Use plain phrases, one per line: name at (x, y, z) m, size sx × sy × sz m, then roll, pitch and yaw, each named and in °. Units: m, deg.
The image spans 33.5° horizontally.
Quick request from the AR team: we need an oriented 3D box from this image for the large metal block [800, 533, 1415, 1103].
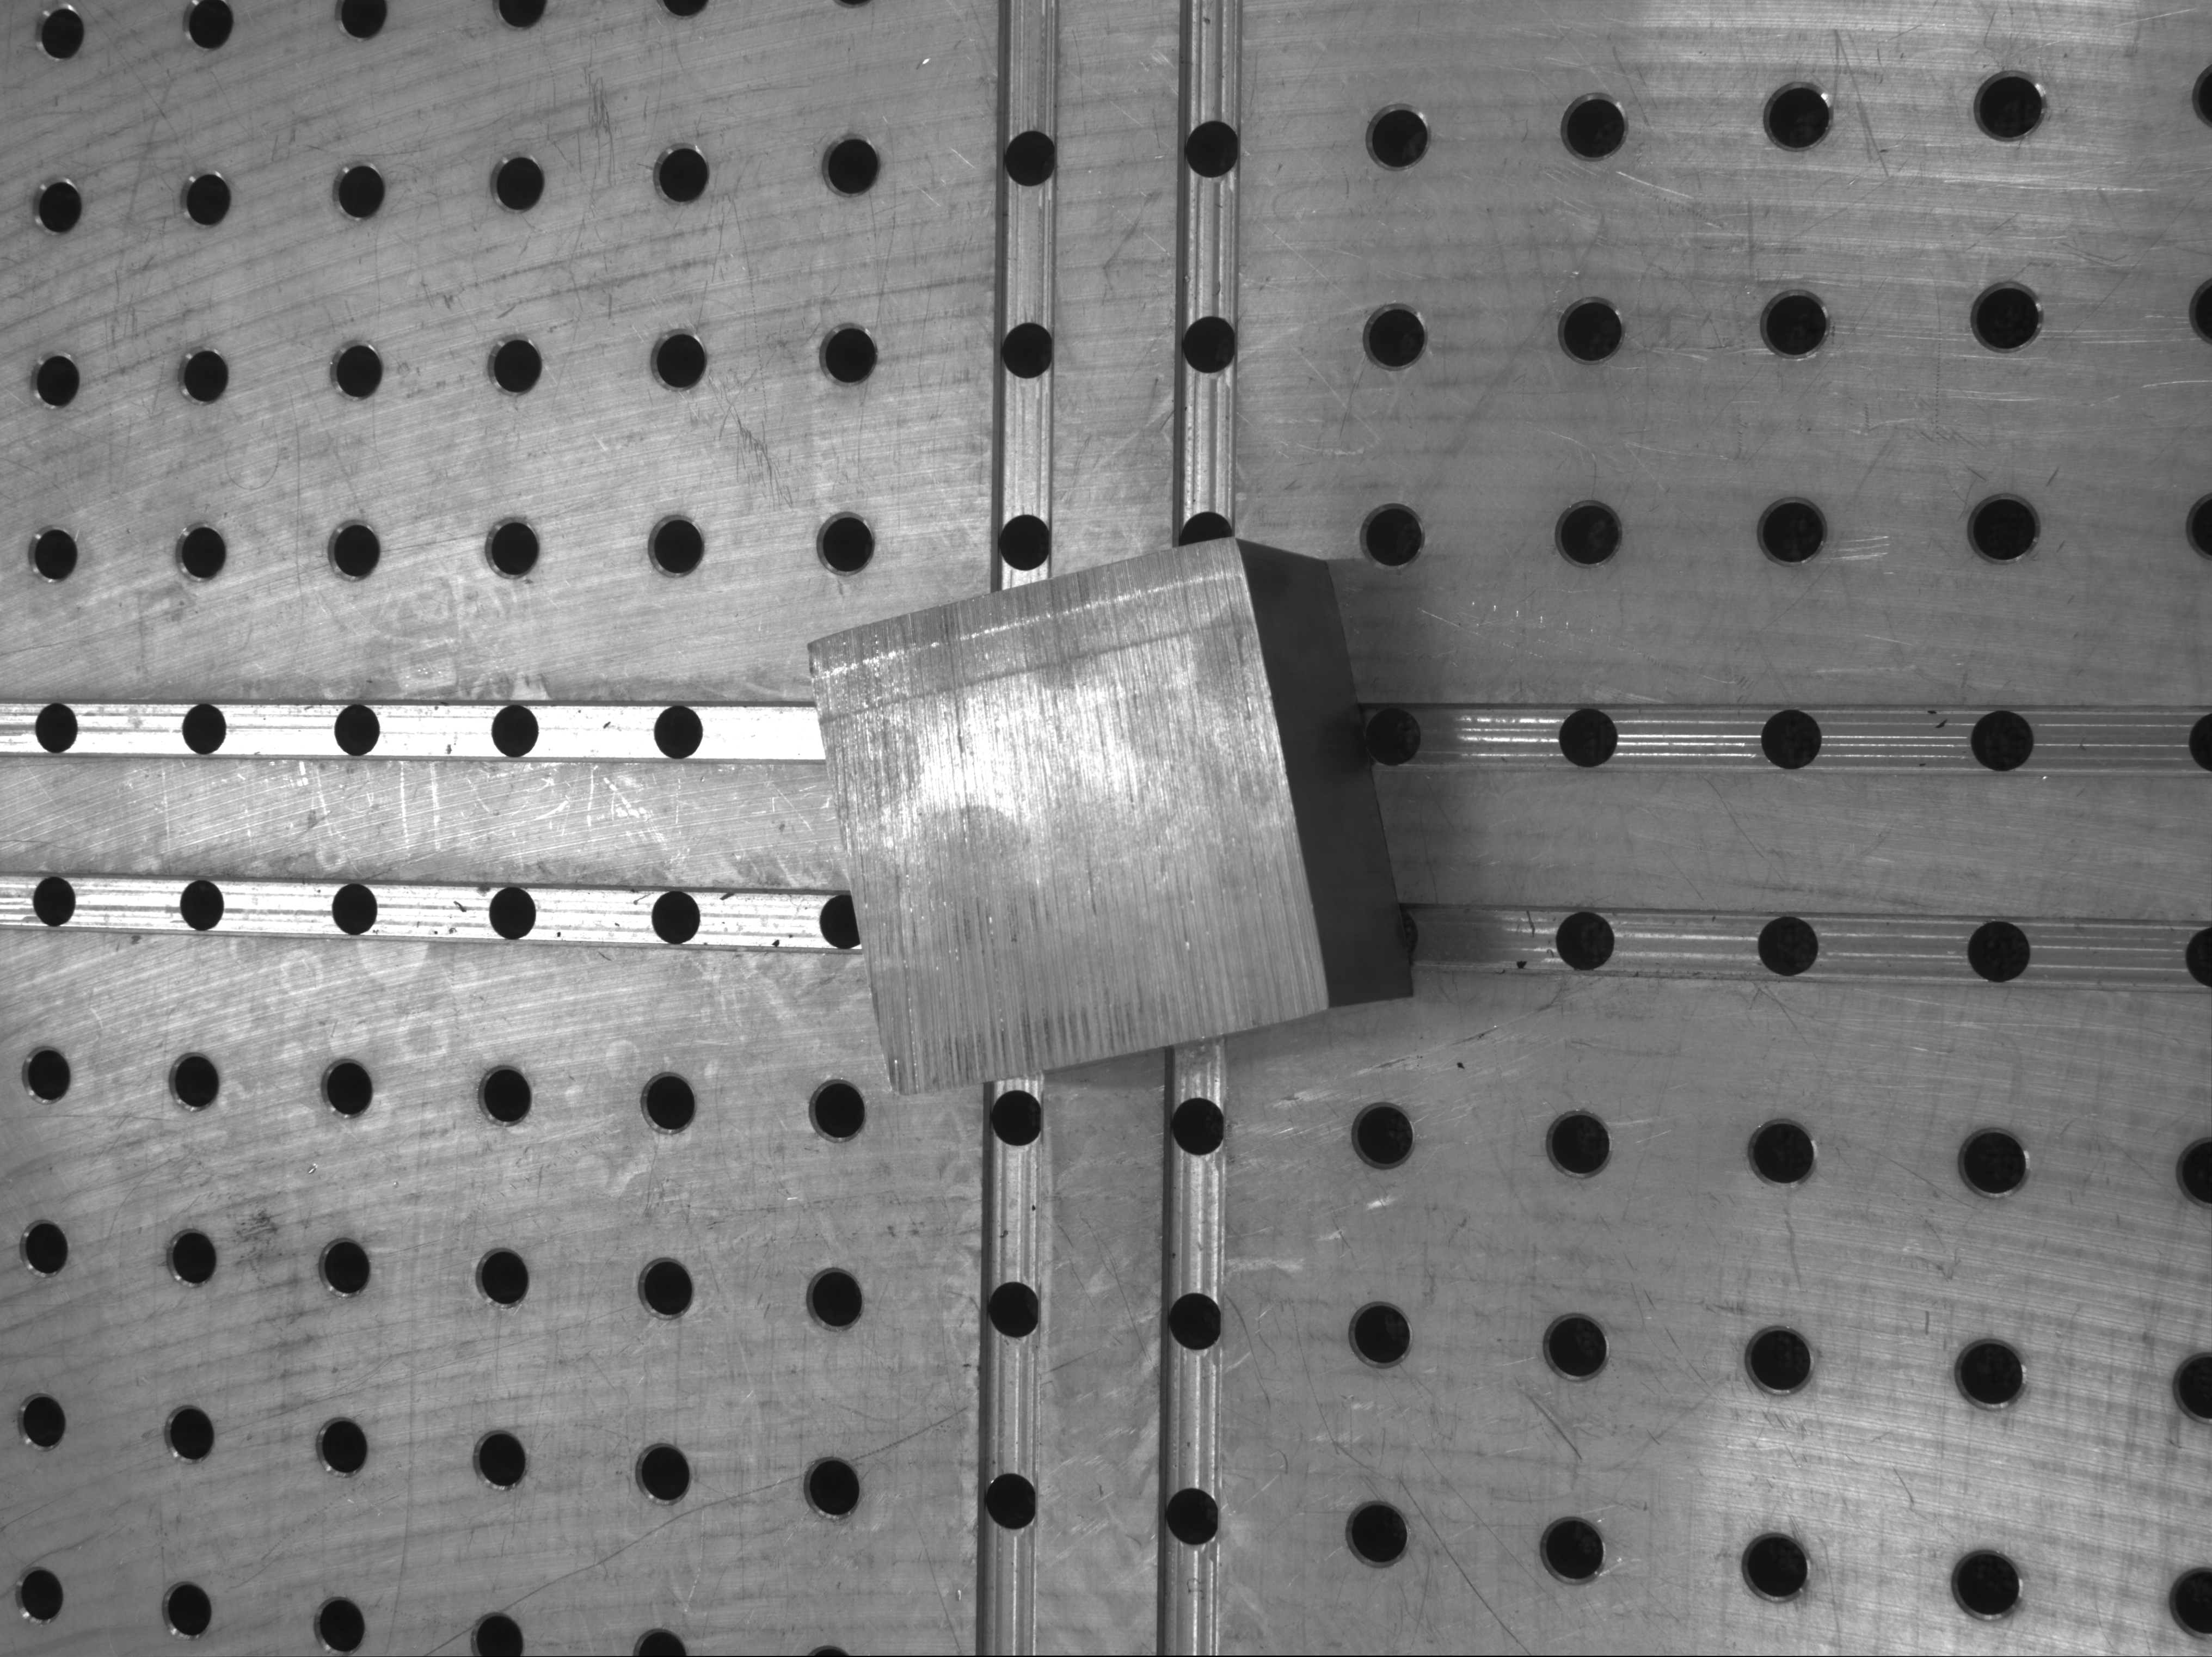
large metal block at (0.001, -0.001, 0.635) m, size 0.080 × 0.050 × 0.080 m, roll -13°, pitch 86°, yaw 20°
